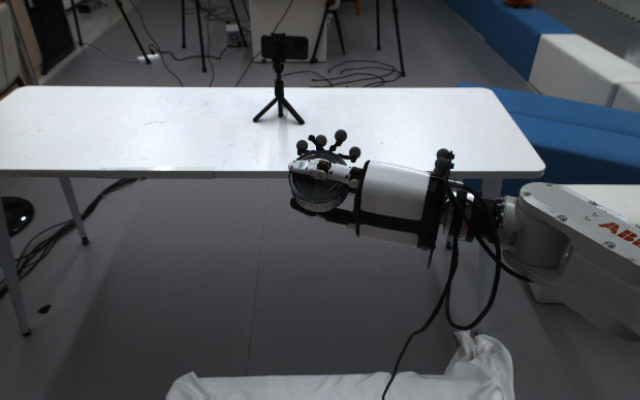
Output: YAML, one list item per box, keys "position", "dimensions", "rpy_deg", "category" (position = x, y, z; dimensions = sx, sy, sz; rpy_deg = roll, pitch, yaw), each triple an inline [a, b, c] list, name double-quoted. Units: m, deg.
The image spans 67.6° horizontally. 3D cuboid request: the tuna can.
- position: [-0.001, -0.028, 0.684]
  dimensions: [0.085, 0.034, 0.085]
  rpy_deg: [-2, 58, 4]
  category: "tuna can"
